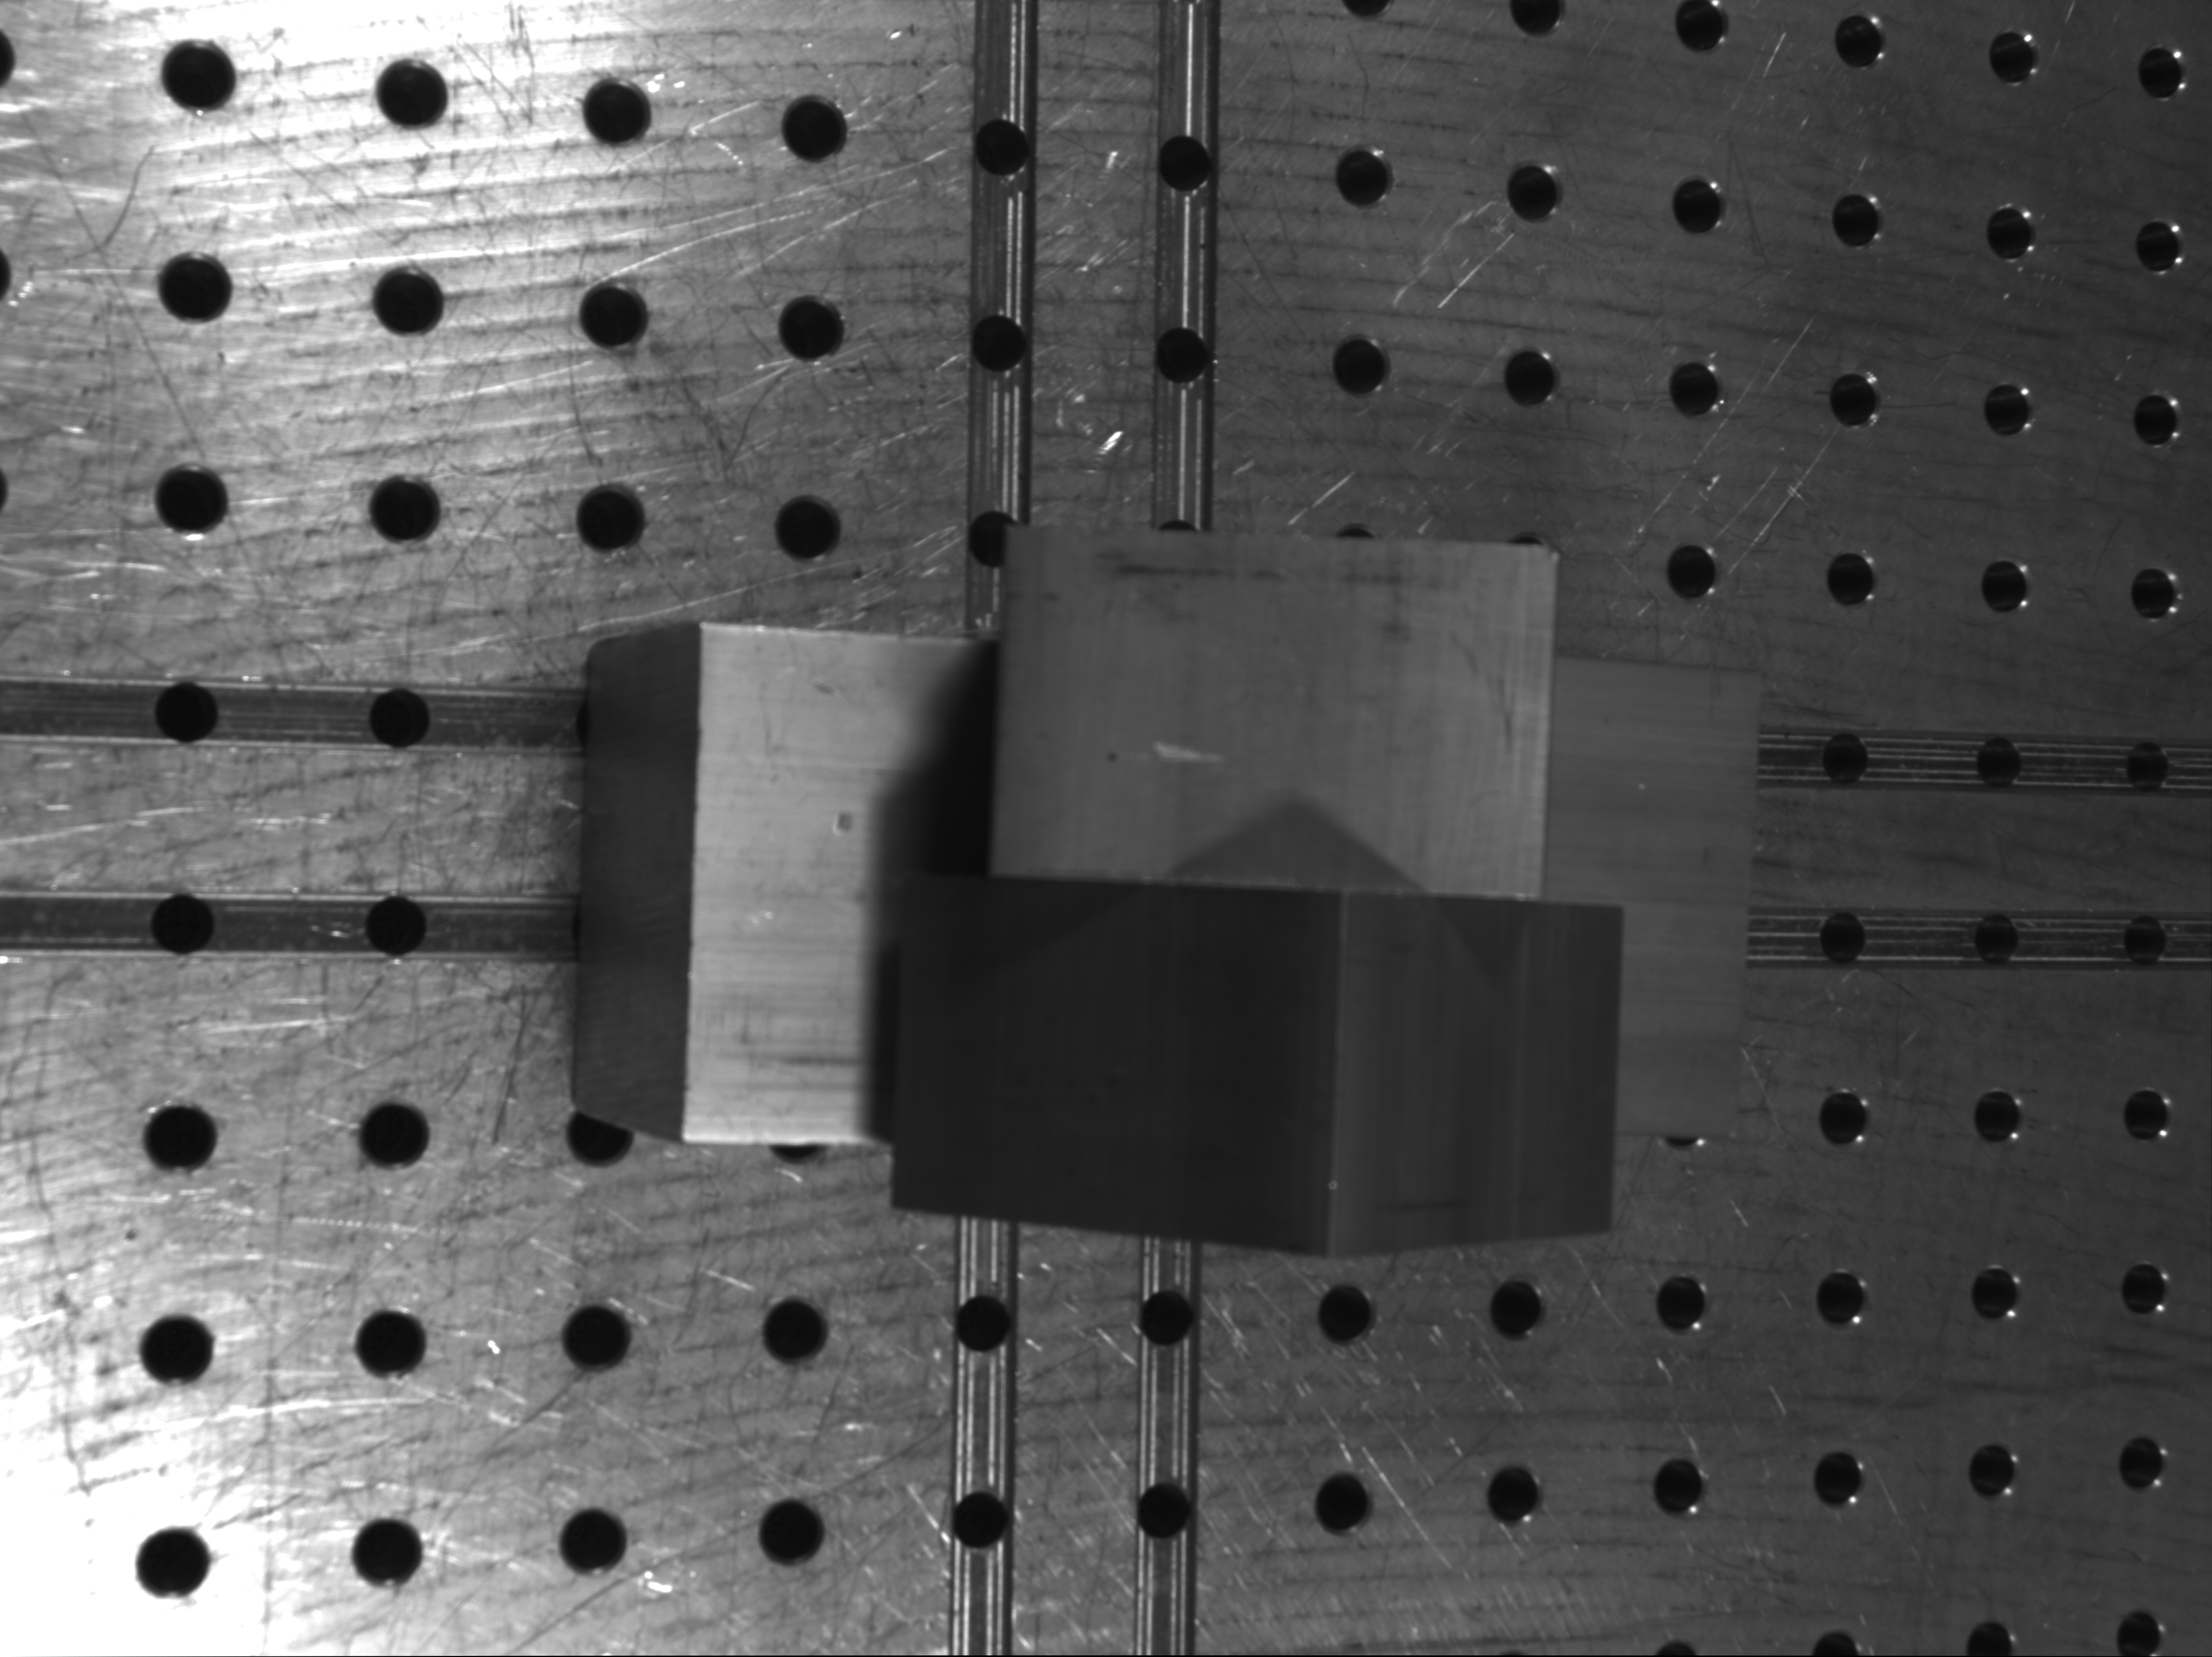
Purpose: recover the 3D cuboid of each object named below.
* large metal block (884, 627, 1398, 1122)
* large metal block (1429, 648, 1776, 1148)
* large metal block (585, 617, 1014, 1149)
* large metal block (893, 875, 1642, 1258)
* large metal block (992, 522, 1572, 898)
[{"bbox_3d":[0.008,0.009,0.633,0.080,0.050,0.080,3,89,-20],"label":"large metal block"},{"bbox_3d":[0.073,0.012,0.643,0.050,0.080,0.080,4,88,-20],"label":"large metal block"},{"bbox_3d":[-0.051,0.009,0.598,0.050,0.080,0.080,2,89,-20],"label":"large metal block"},{"bbox_3d":[0.025,0.035,0.555,0.080,0.080,0.050,5,87,-53],"label":"large metal block"},{"bbox_3d":[0.027,-0.016,0.559,0.080,0.080,0.050,2,88,3],"label":"large metal block"}]
